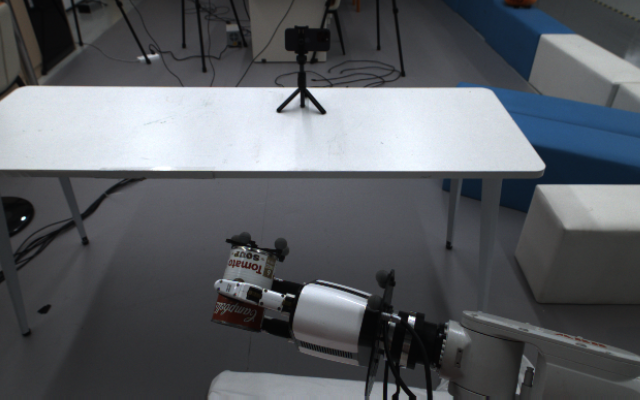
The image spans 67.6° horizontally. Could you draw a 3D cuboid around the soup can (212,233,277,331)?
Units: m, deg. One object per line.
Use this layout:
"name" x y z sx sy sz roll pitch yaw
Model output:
"soup can" -0.098 0.120 0.648 0.067 0.067 0.101 9 72 10
